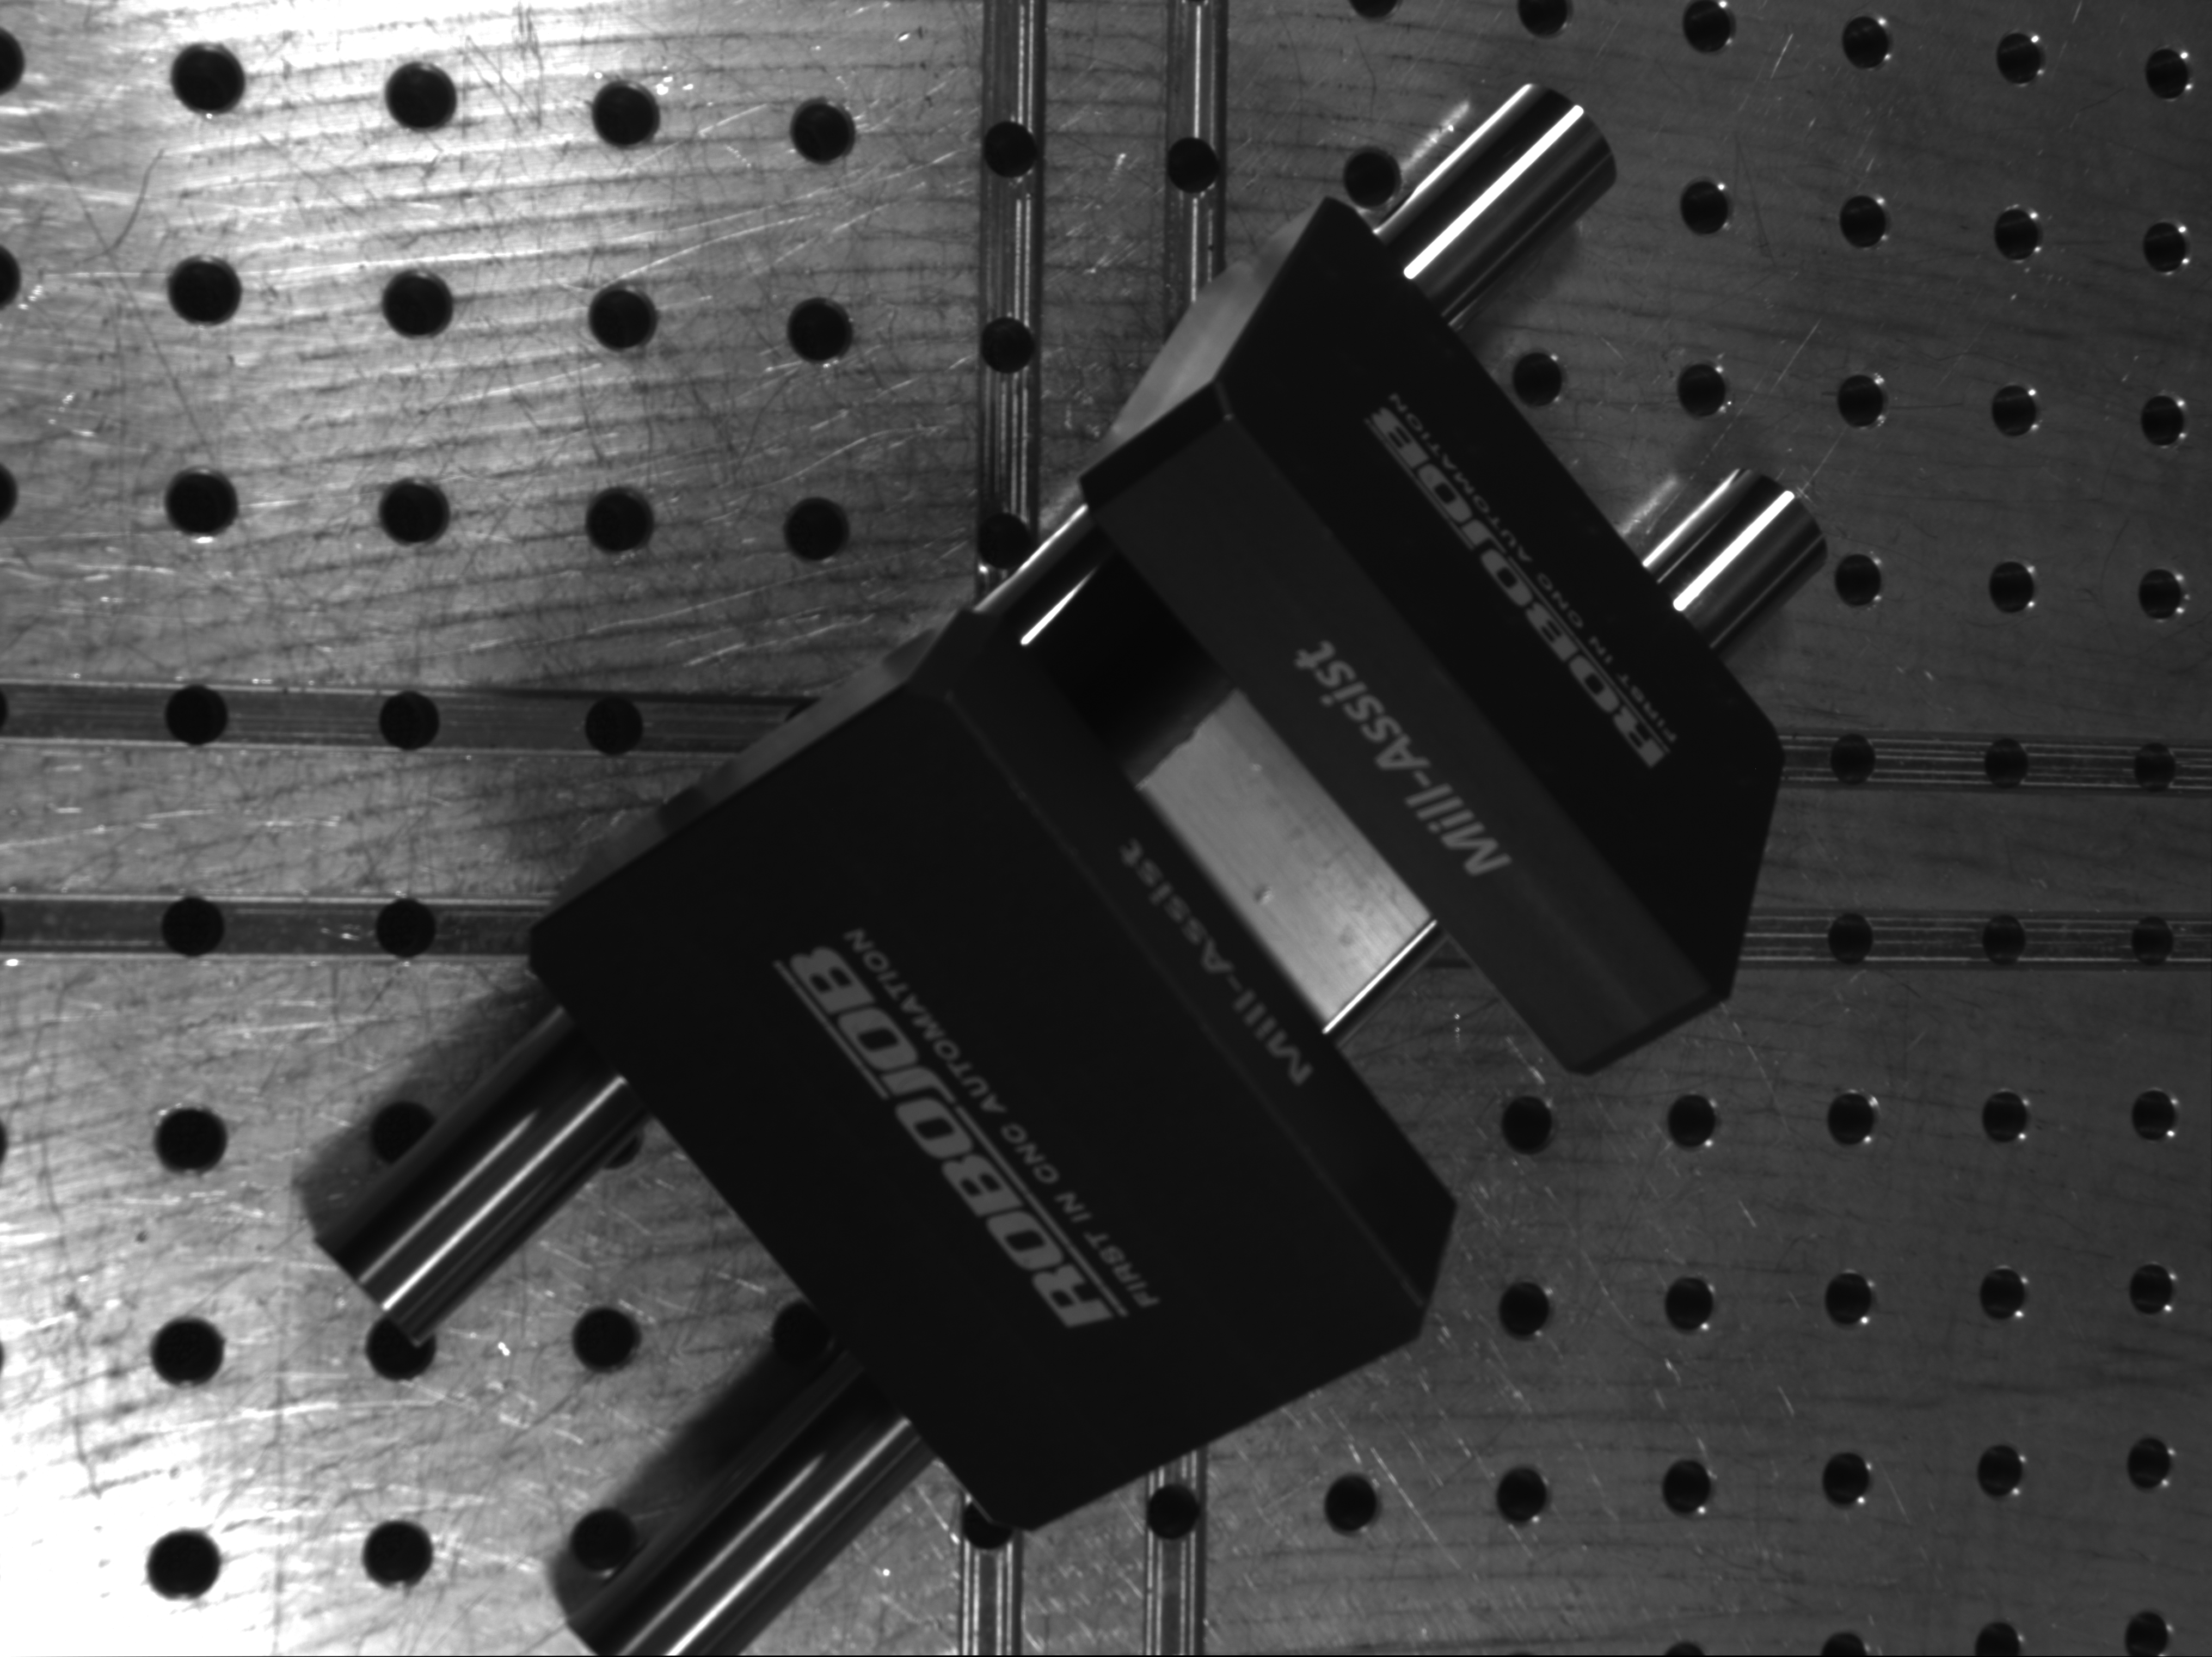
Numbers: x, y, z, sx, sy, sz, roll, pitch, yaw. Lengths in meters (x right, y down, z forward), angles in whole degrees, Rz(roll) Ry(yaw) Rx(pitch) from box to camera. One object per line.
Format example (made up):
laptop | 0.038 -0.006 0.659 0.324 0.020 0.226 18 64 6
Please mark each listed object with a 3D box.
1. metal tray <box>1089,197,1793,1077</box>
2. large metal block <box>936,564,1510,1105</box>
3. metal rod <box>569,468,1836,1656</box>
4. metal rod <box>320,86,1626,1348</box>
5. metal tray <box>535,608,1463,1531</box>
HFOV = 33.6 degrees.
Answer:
metal tray | 0.060 -0.033 0.610 0.130 0.030 0.090 49 31 -13
large metal block | 0.019 0.002 0.623 0.080 0.080 0.050 -44 103 -15
metal rod | 0.023 0.042 0.654 0.300 0.025 0.025 -44 103 -15
metal rod | -0.017 -0.025 0.640 0.300 0.025 0.025 -45 104 -15
metal tray | -0.016 0.041 0.583 0.090 0.030 0.130 -31 104 27
